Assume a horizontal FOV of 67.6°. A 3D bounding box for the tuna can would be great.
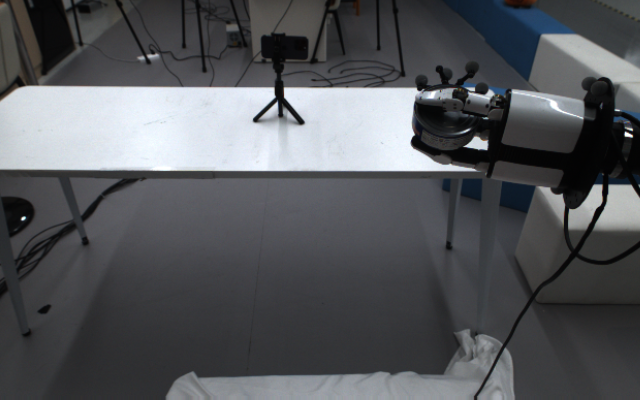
[{"bbox_3d":[0.162,-0.113,0.623,0.085,0.034,0.085,-2,56,3],"label":"tuna can"}]
